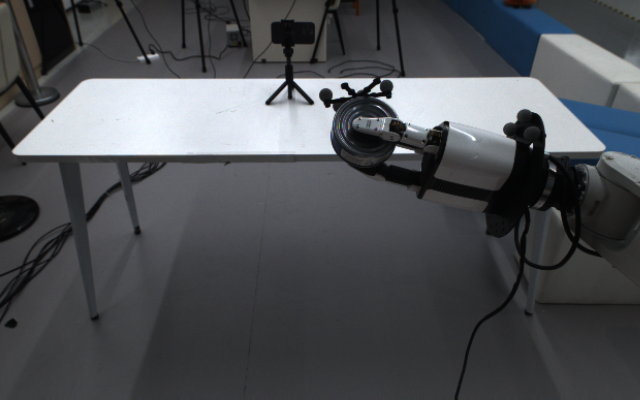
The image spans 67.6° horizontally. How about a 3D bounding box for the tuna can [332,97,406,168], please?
[{"bbox_3d":[0.061,-0.081,0.606,0.085,0.034,0.085,0,72,-1],"label":"tuna can"}]
